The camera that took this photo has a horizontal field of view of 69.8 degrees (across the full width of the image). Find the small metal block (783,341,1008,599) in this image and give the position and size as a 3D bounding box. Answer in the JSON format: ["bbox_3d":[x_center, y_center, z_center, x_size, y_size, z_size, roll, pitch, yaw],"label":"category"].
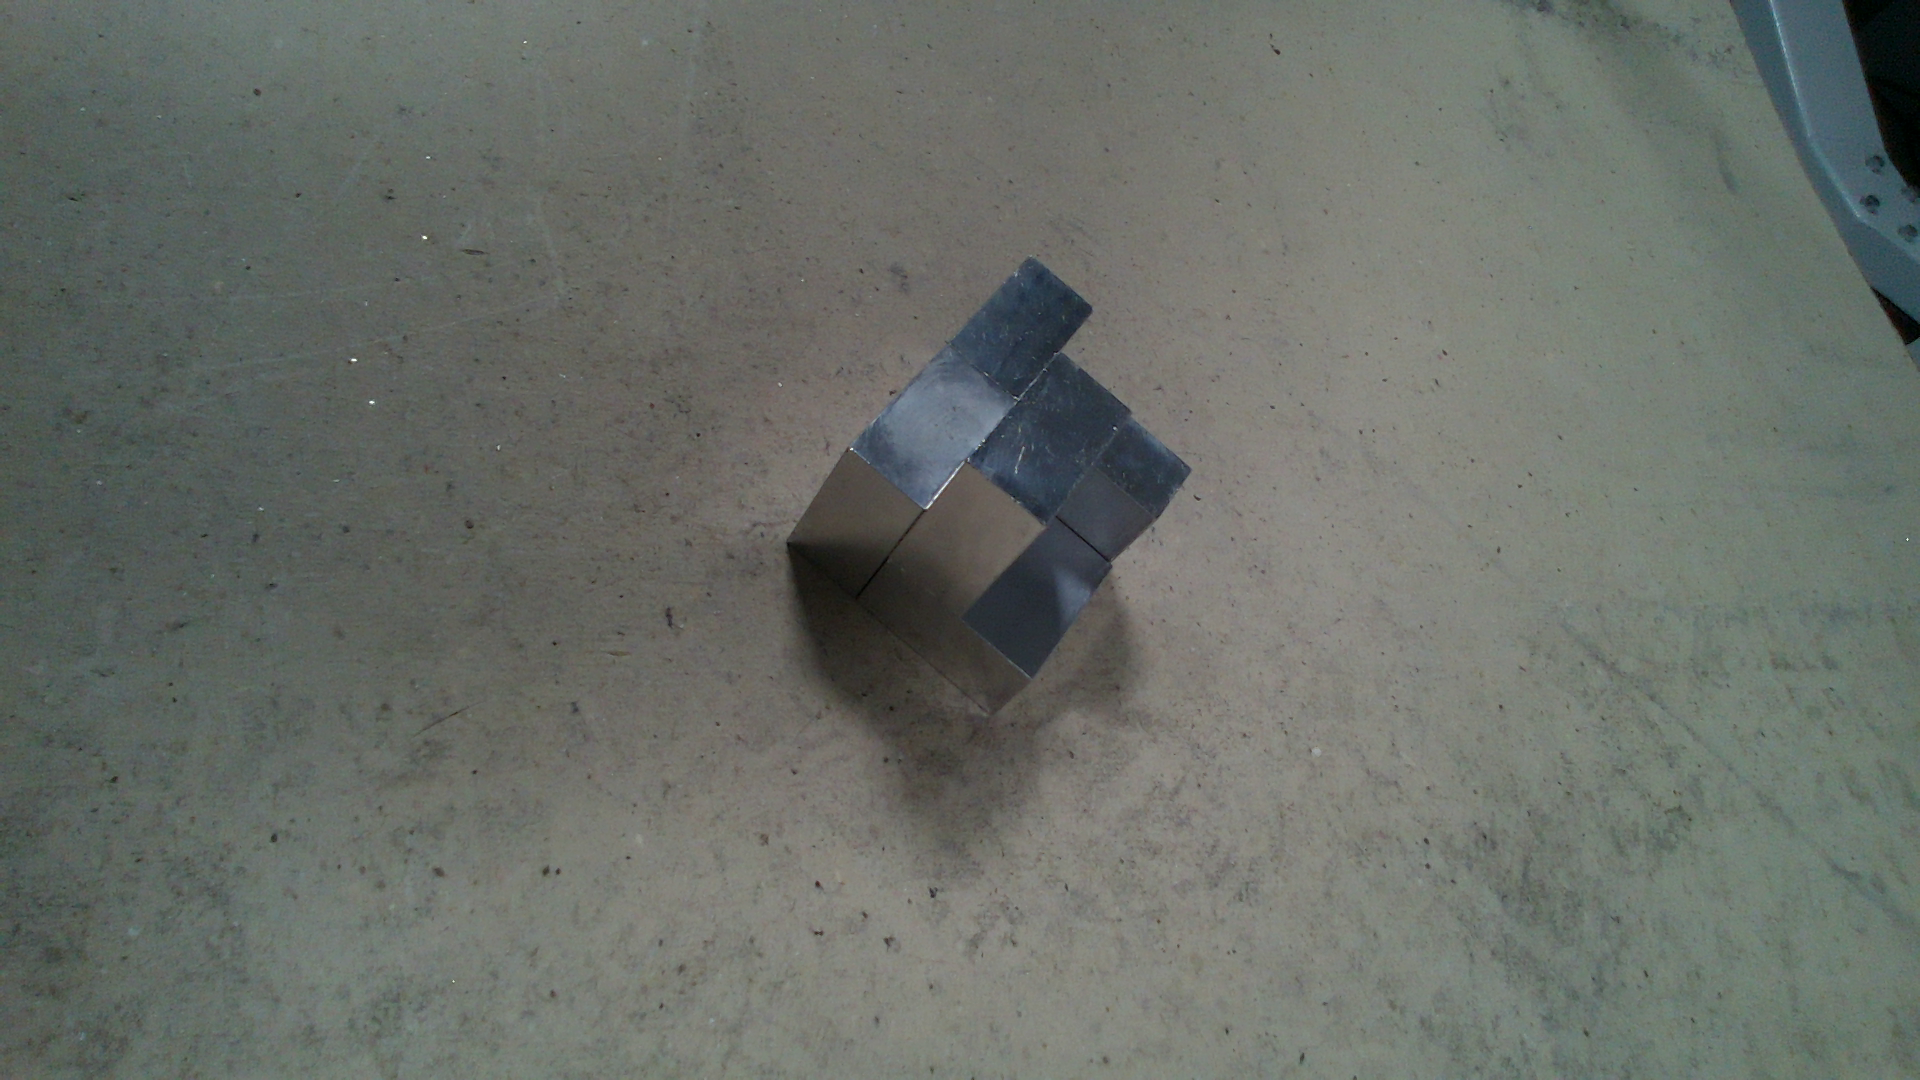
[{"bbox_3d":[-0.017,-0.019,0.376,0.025,0.050,0.050,39,51,-1],"label":"small metal block"}]

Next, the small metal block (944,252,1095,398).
[{"bbox_3d":[0.008,-0.049,0.408,0.025,0.050,0.050,39,51,-1],"label":"small metal block"}]

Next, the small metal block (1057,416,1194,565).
[{"bbox_3d":[0.031,-0.018,0.401,0.050,0.050,0.025,40,51,-1],"label":"small metal block"}]

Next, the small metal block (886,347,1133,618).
[{"bbox_3d":[0.013,-0.015,0.357,0.025,0.050,0.050,39,51,-1],"label":"small metal block"}]

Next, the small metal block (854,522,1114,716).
[{"bbox_3d":[0.007,0.012,0.387,0.050,0.025,0.050,40,51,-1],"label":"small metal block"}]
